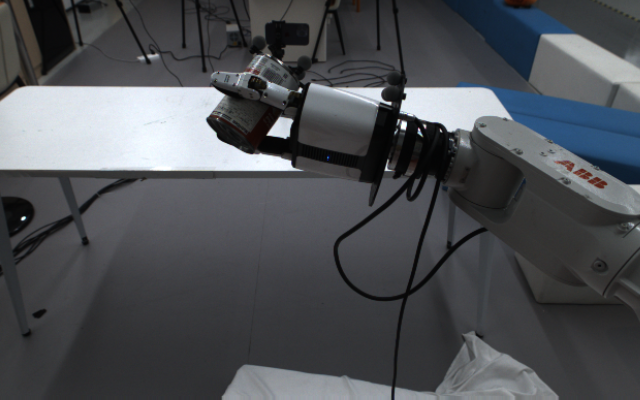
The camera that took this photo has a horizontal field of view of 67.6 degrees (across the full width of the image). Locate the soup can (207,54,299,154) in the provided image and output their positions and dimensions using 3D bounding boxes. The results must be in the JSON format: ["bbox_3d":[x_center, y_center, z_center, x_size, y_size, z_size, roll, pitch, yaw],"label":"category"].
[{"bbox_3d":[-0.079,-0.115,0.581,0.067,0.067,0.101,26,75,31],"label":"soup can"}]
